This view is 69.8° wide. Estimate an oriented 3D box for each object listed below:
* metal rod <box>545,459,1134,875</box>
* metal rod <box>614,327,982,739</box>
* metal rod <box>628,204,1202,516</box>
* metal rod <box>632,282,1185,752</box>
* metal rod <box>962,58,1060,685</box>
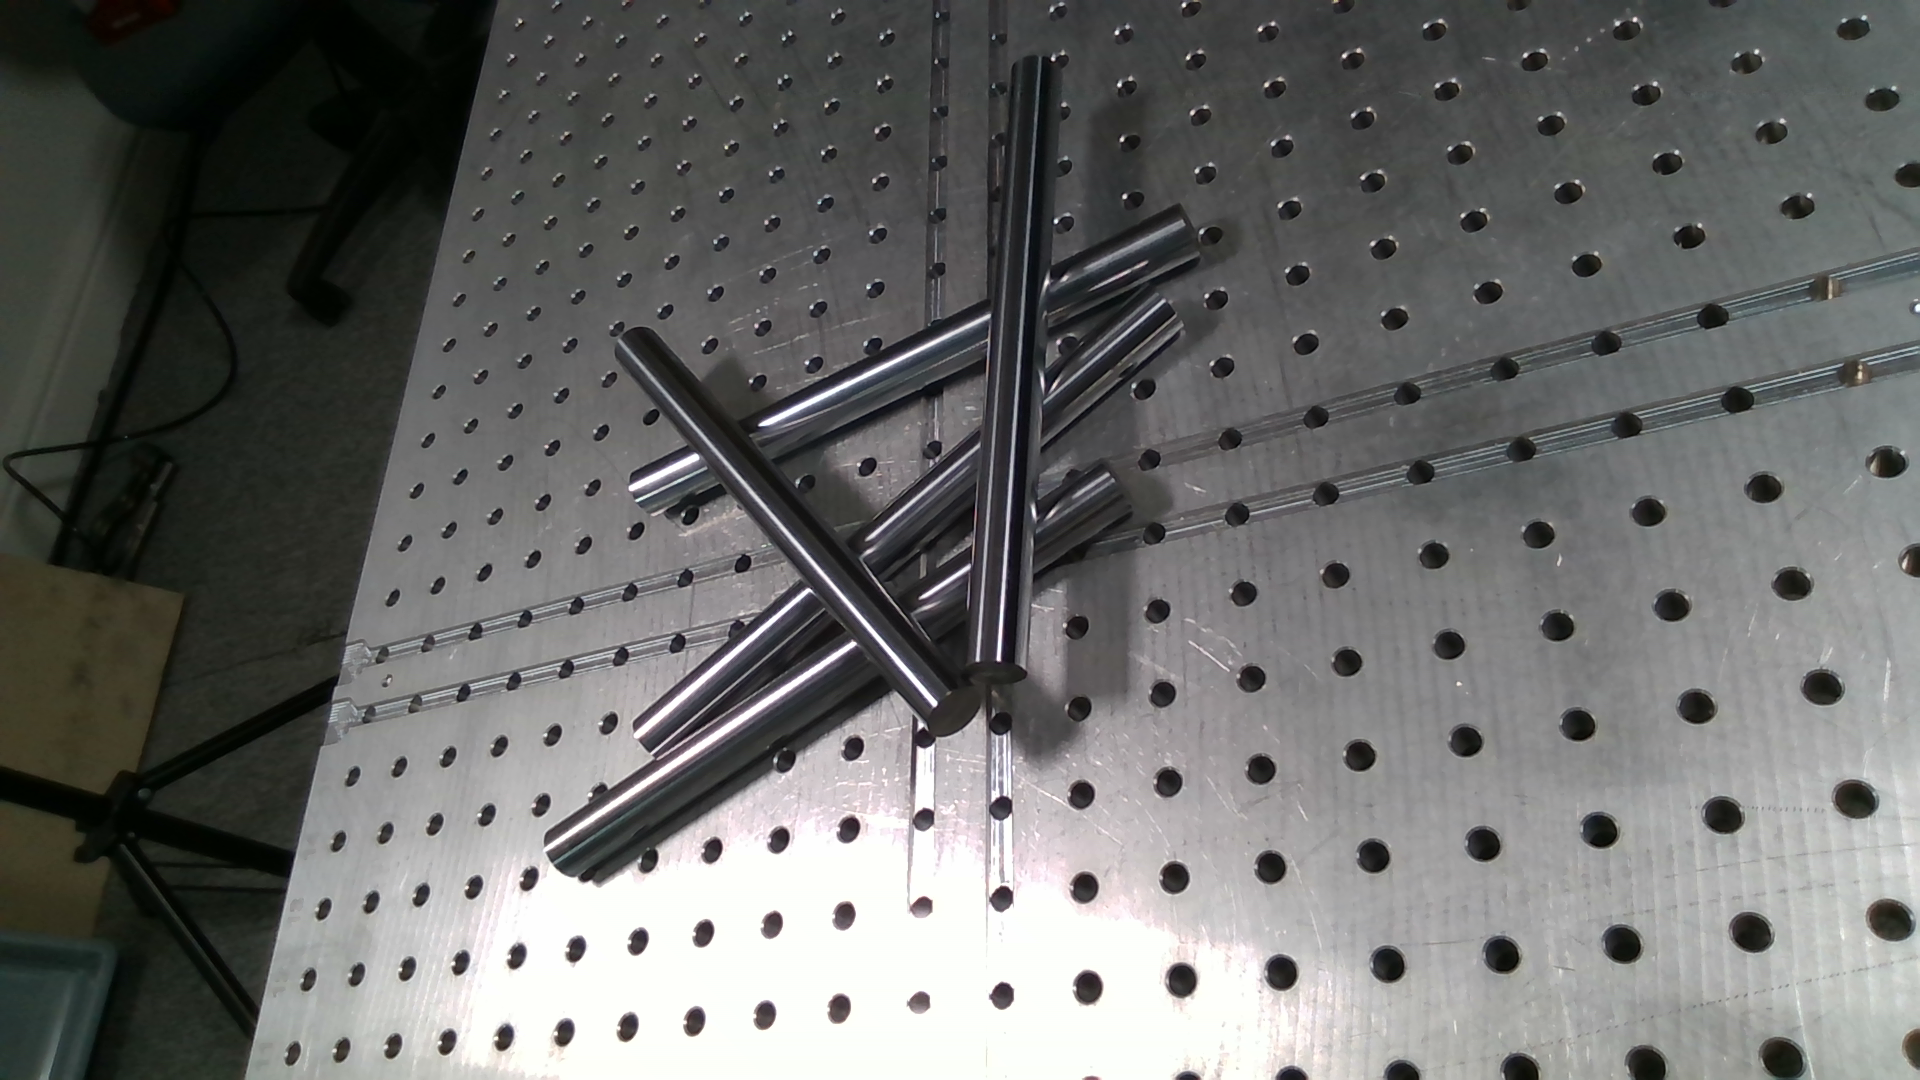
[{"bbox_3d":[-0.057,0.059,0.592,0.300,0.025,0.025,-34,52,12],"label":"metal rod"},{"bbox_3d":[-0.084,-0.016,0.616,0.025,0.025,0.299,-47,51,2],"label":"metal rod"},{"bbox_3d":[-0.030,-0.079,0.648,0.300,0.025,0.025,-23,55,20],"label":"metal rod"},{"bbox_3d":[-0.026,-0.005,0.606,0.300,0.025,0.025,-40,51,7],"label":"metal rod"},{"bbox_3d":[0.024,-0.084,0.586,0.025,0.025,0.299,-10,61,27],"label":"metal rod"}]
